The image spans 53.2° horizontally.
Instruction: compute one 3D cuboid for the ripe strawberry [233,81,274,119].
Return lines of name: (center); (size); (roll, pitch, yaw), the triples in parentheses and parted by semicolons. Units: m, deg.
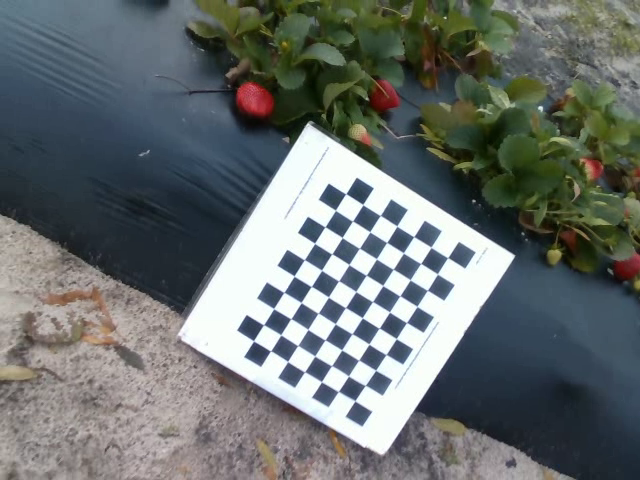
ripe strawberry: (-0.063, -0.135, 0.593); (0.037, 0.037, 0.046); (-14, 41, 1)
